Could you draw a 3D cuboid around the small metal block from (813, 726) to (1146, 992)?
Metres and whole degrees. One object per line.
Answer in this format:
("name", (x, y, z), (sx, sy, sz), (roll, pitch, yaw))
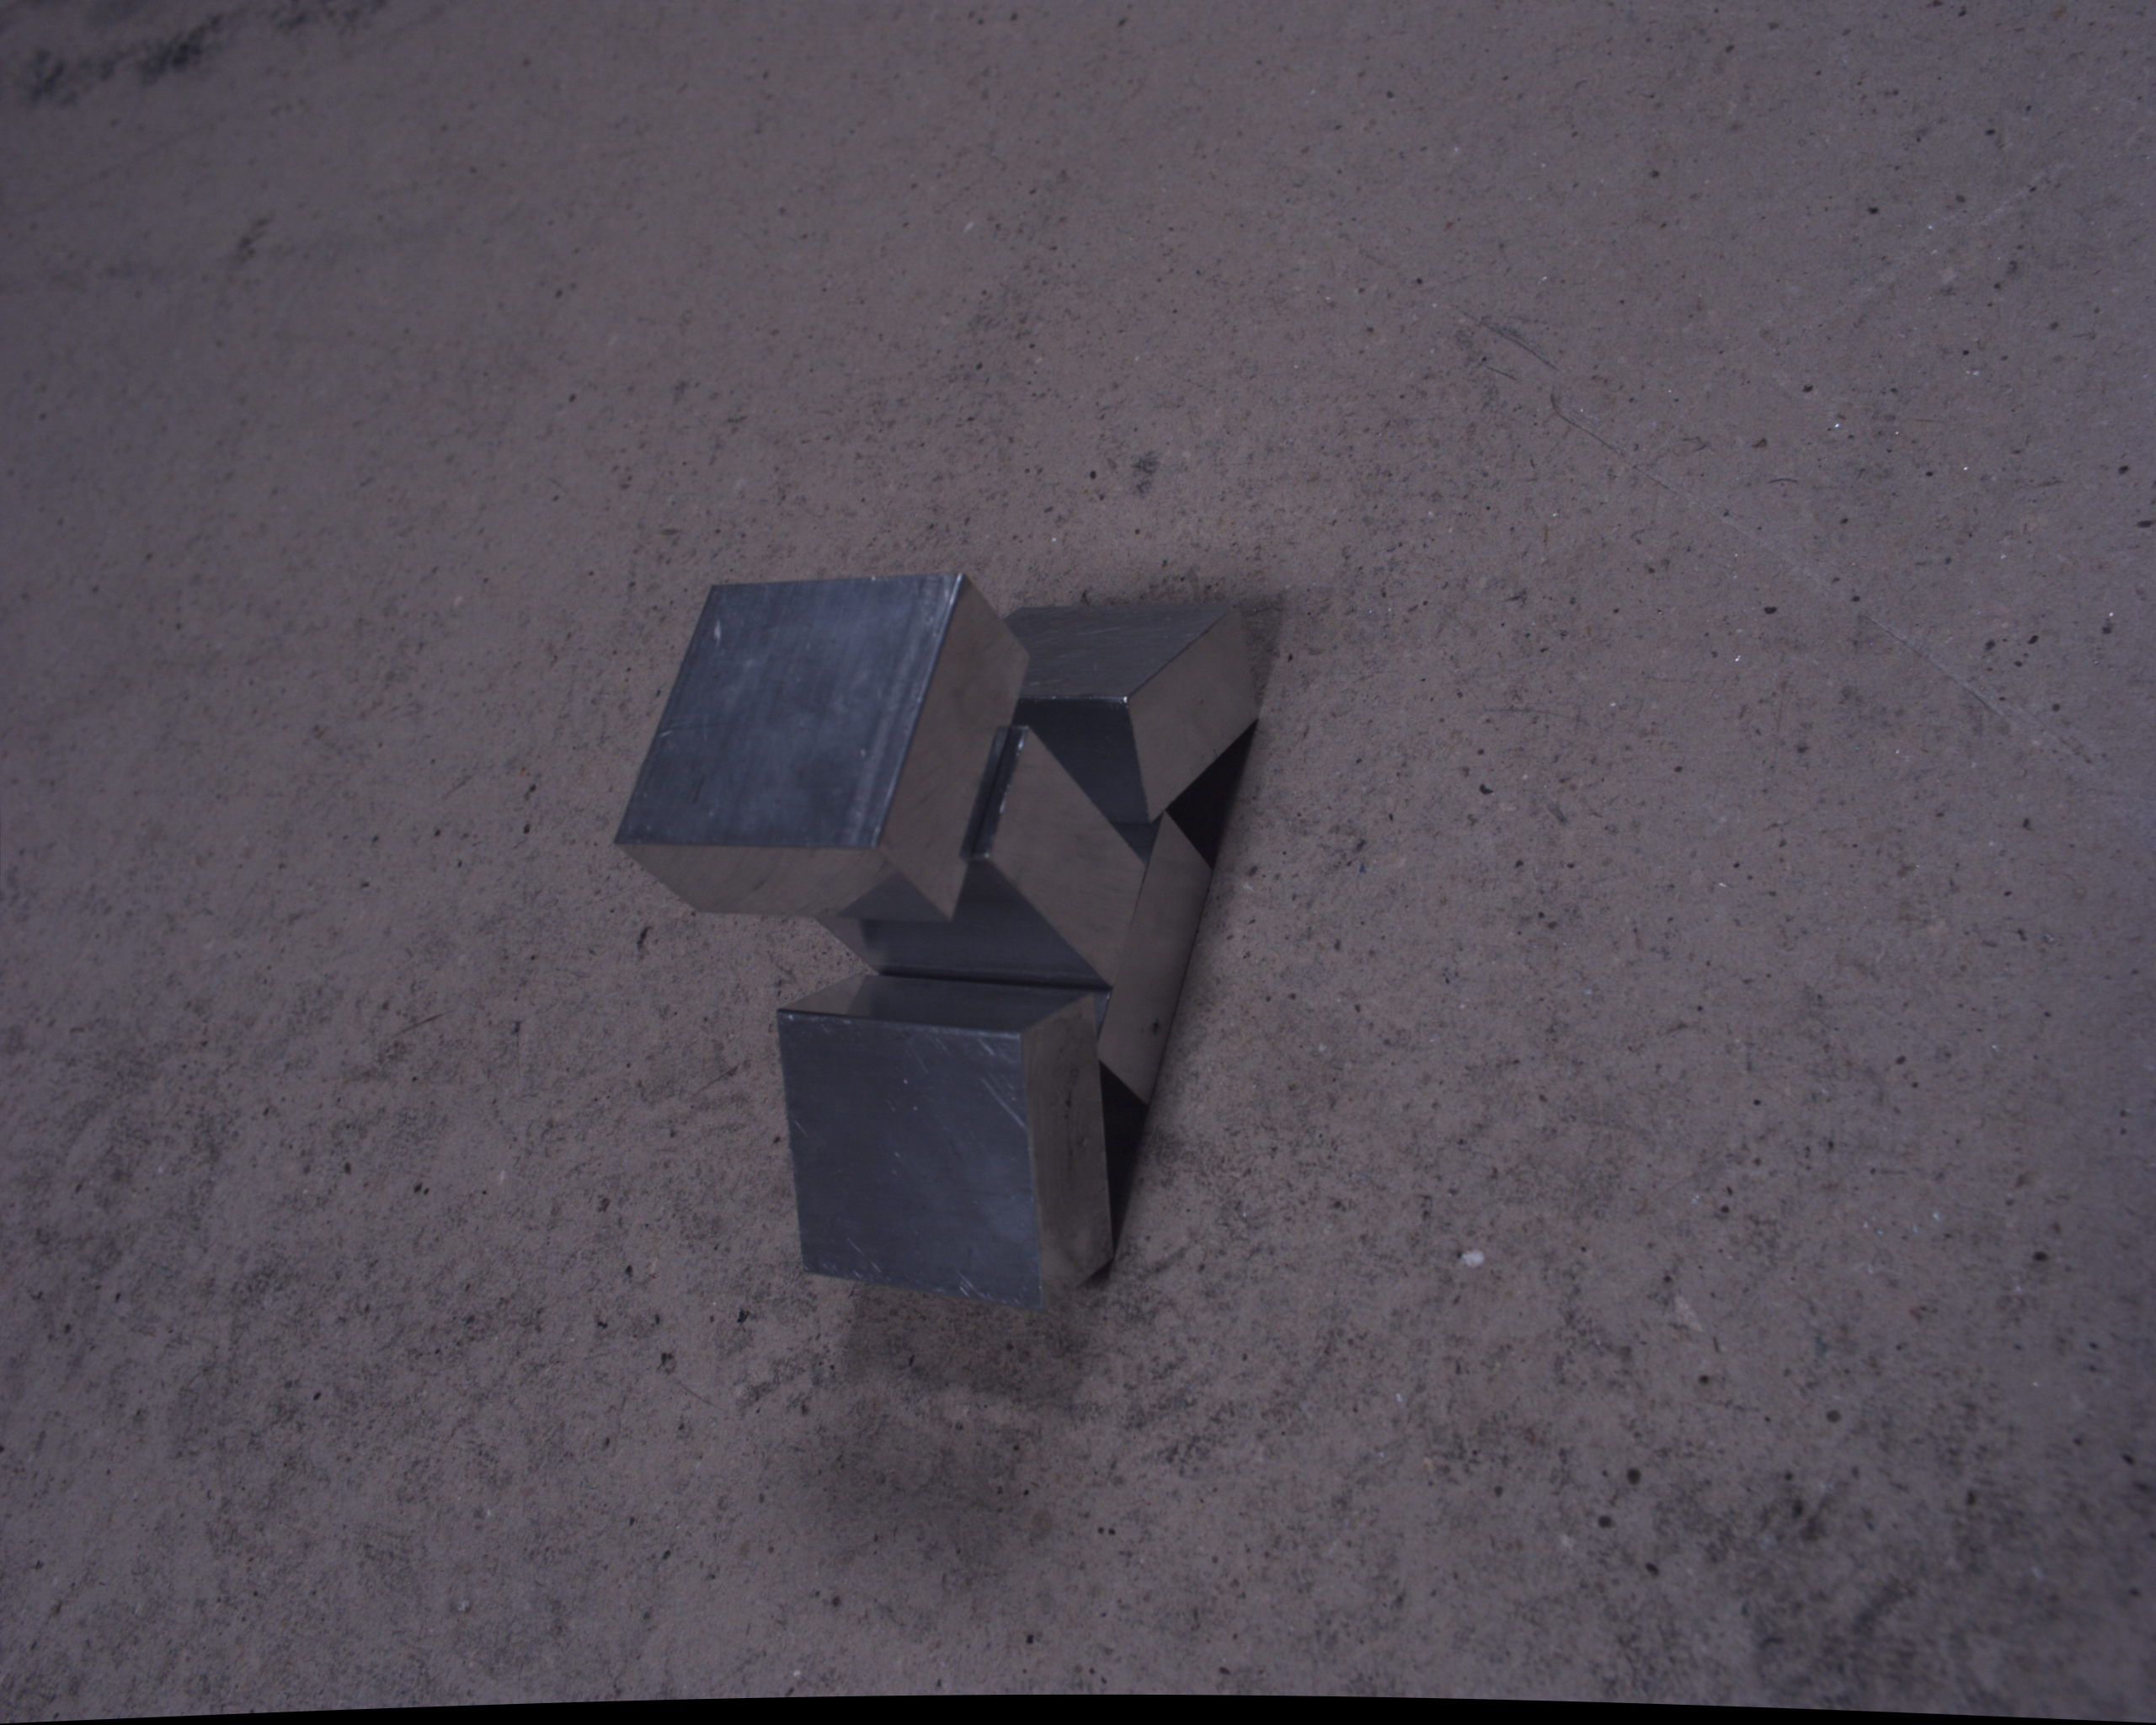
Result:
("small metal block", (-0.023, -0.001, 0.368), (0.050, 0.050, 0.025), (3, 63, 29))

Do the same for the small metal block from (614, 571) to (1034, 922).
("small metal block", (-0.041, -0.019, 0.341), (0.050, 0.025, 0.050), (1, 62, 28))

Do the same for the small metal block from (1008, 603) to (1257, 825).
("small metal block", (0.000, -0.030, 0.407), (0.050, 0.025, 0.050), (3, 27, 29))

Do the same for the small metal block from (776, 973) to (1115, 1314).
("small metal block", (-0.023, 0.049, 0.370), (0.050, 0.025, 0.050), (2, 103, 29))

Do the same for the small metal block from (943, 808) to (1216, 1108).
("small metal block", (-0.007, 0.017, 0.398), (0.050, 0.025, 0.050), (3, 63, 29))
